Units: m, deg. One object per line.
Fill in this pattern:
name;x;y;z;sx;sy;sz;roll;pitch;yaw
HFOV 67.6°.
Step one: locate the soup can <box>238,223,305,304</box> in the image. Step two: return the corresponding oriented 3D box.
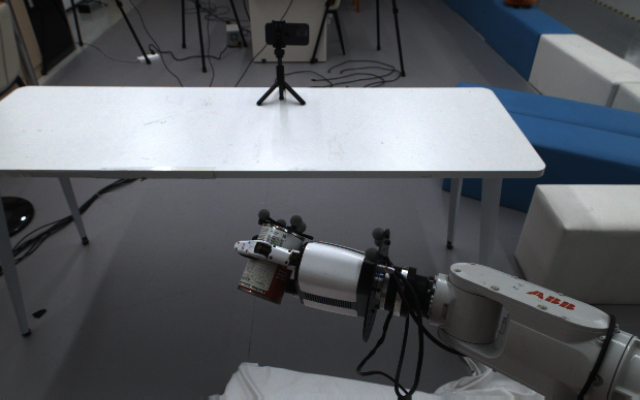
soup can;-0.070;0.094;0.705;0.067;0.067;0.101;16;75;19
